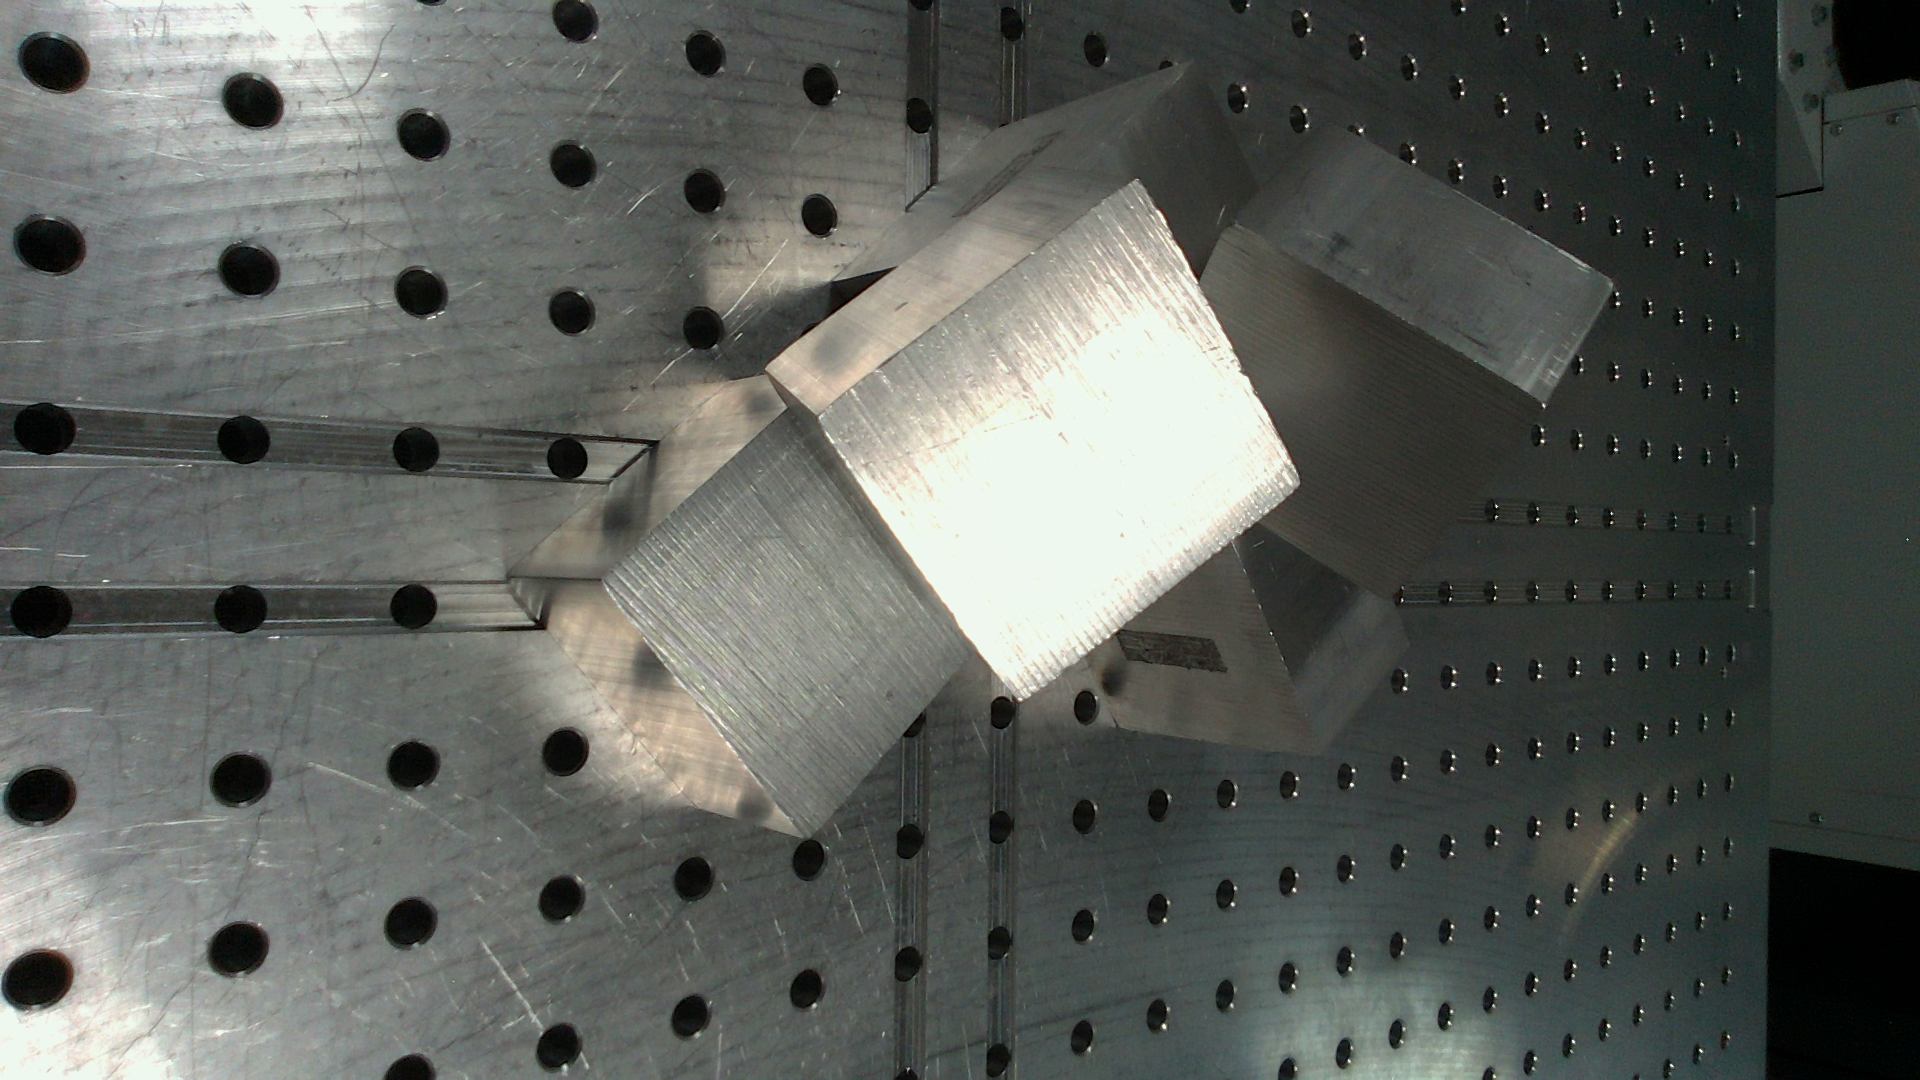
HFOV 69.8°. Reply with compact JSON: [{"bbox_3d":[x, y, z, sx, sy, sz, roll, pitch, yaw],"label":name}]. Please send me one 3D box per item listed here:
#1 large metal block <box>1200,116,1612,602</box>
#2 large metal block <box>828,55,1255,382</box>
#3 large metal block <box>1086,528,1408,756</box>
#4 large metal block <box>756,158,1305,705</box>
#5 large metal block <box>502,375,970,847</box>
[{"bbox_3d":[0.099,-0.044,0.346,0.080,0.080,0.050,34,55,11],"label":"large metal block"},{"bbox_3d":[0.025,-0.079,0.375,0.080,0.080,0.050,-49,119,-29],"label":"large metal block"},{"bbox_3d":[0.077,0.014,0.418,0.050,0.080,0.080,-41,115,-32],"label":"large metal block"},{"bbox_3d":[0.015,-0.026,0.304,0.080,0.050,0.080,-38,116,-6],"label":"large metal block"},{"bbox_3d":[-0.047,0.014,0.336,0.080,0.050,0.080,-47,118,-30],"label":"large metal block"}]
